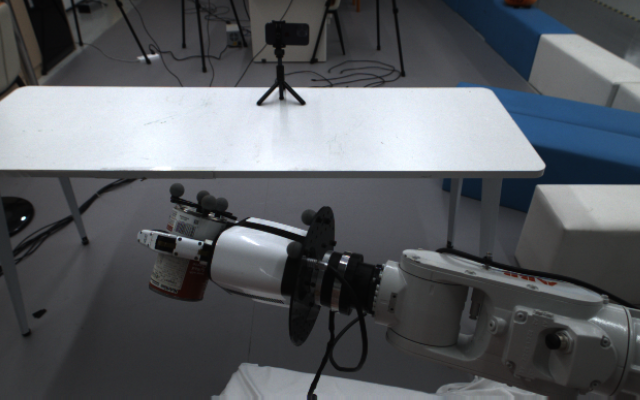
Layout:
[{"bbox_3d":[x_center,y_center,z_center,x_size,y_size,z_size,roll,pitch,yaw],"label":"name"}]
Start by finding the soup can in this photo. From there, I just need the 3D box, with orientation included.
[{"bbox_3d":[-0.156,0.063,0.581,0.067,0.101,0.067,17,-1,0],"label":"soup can"}]
